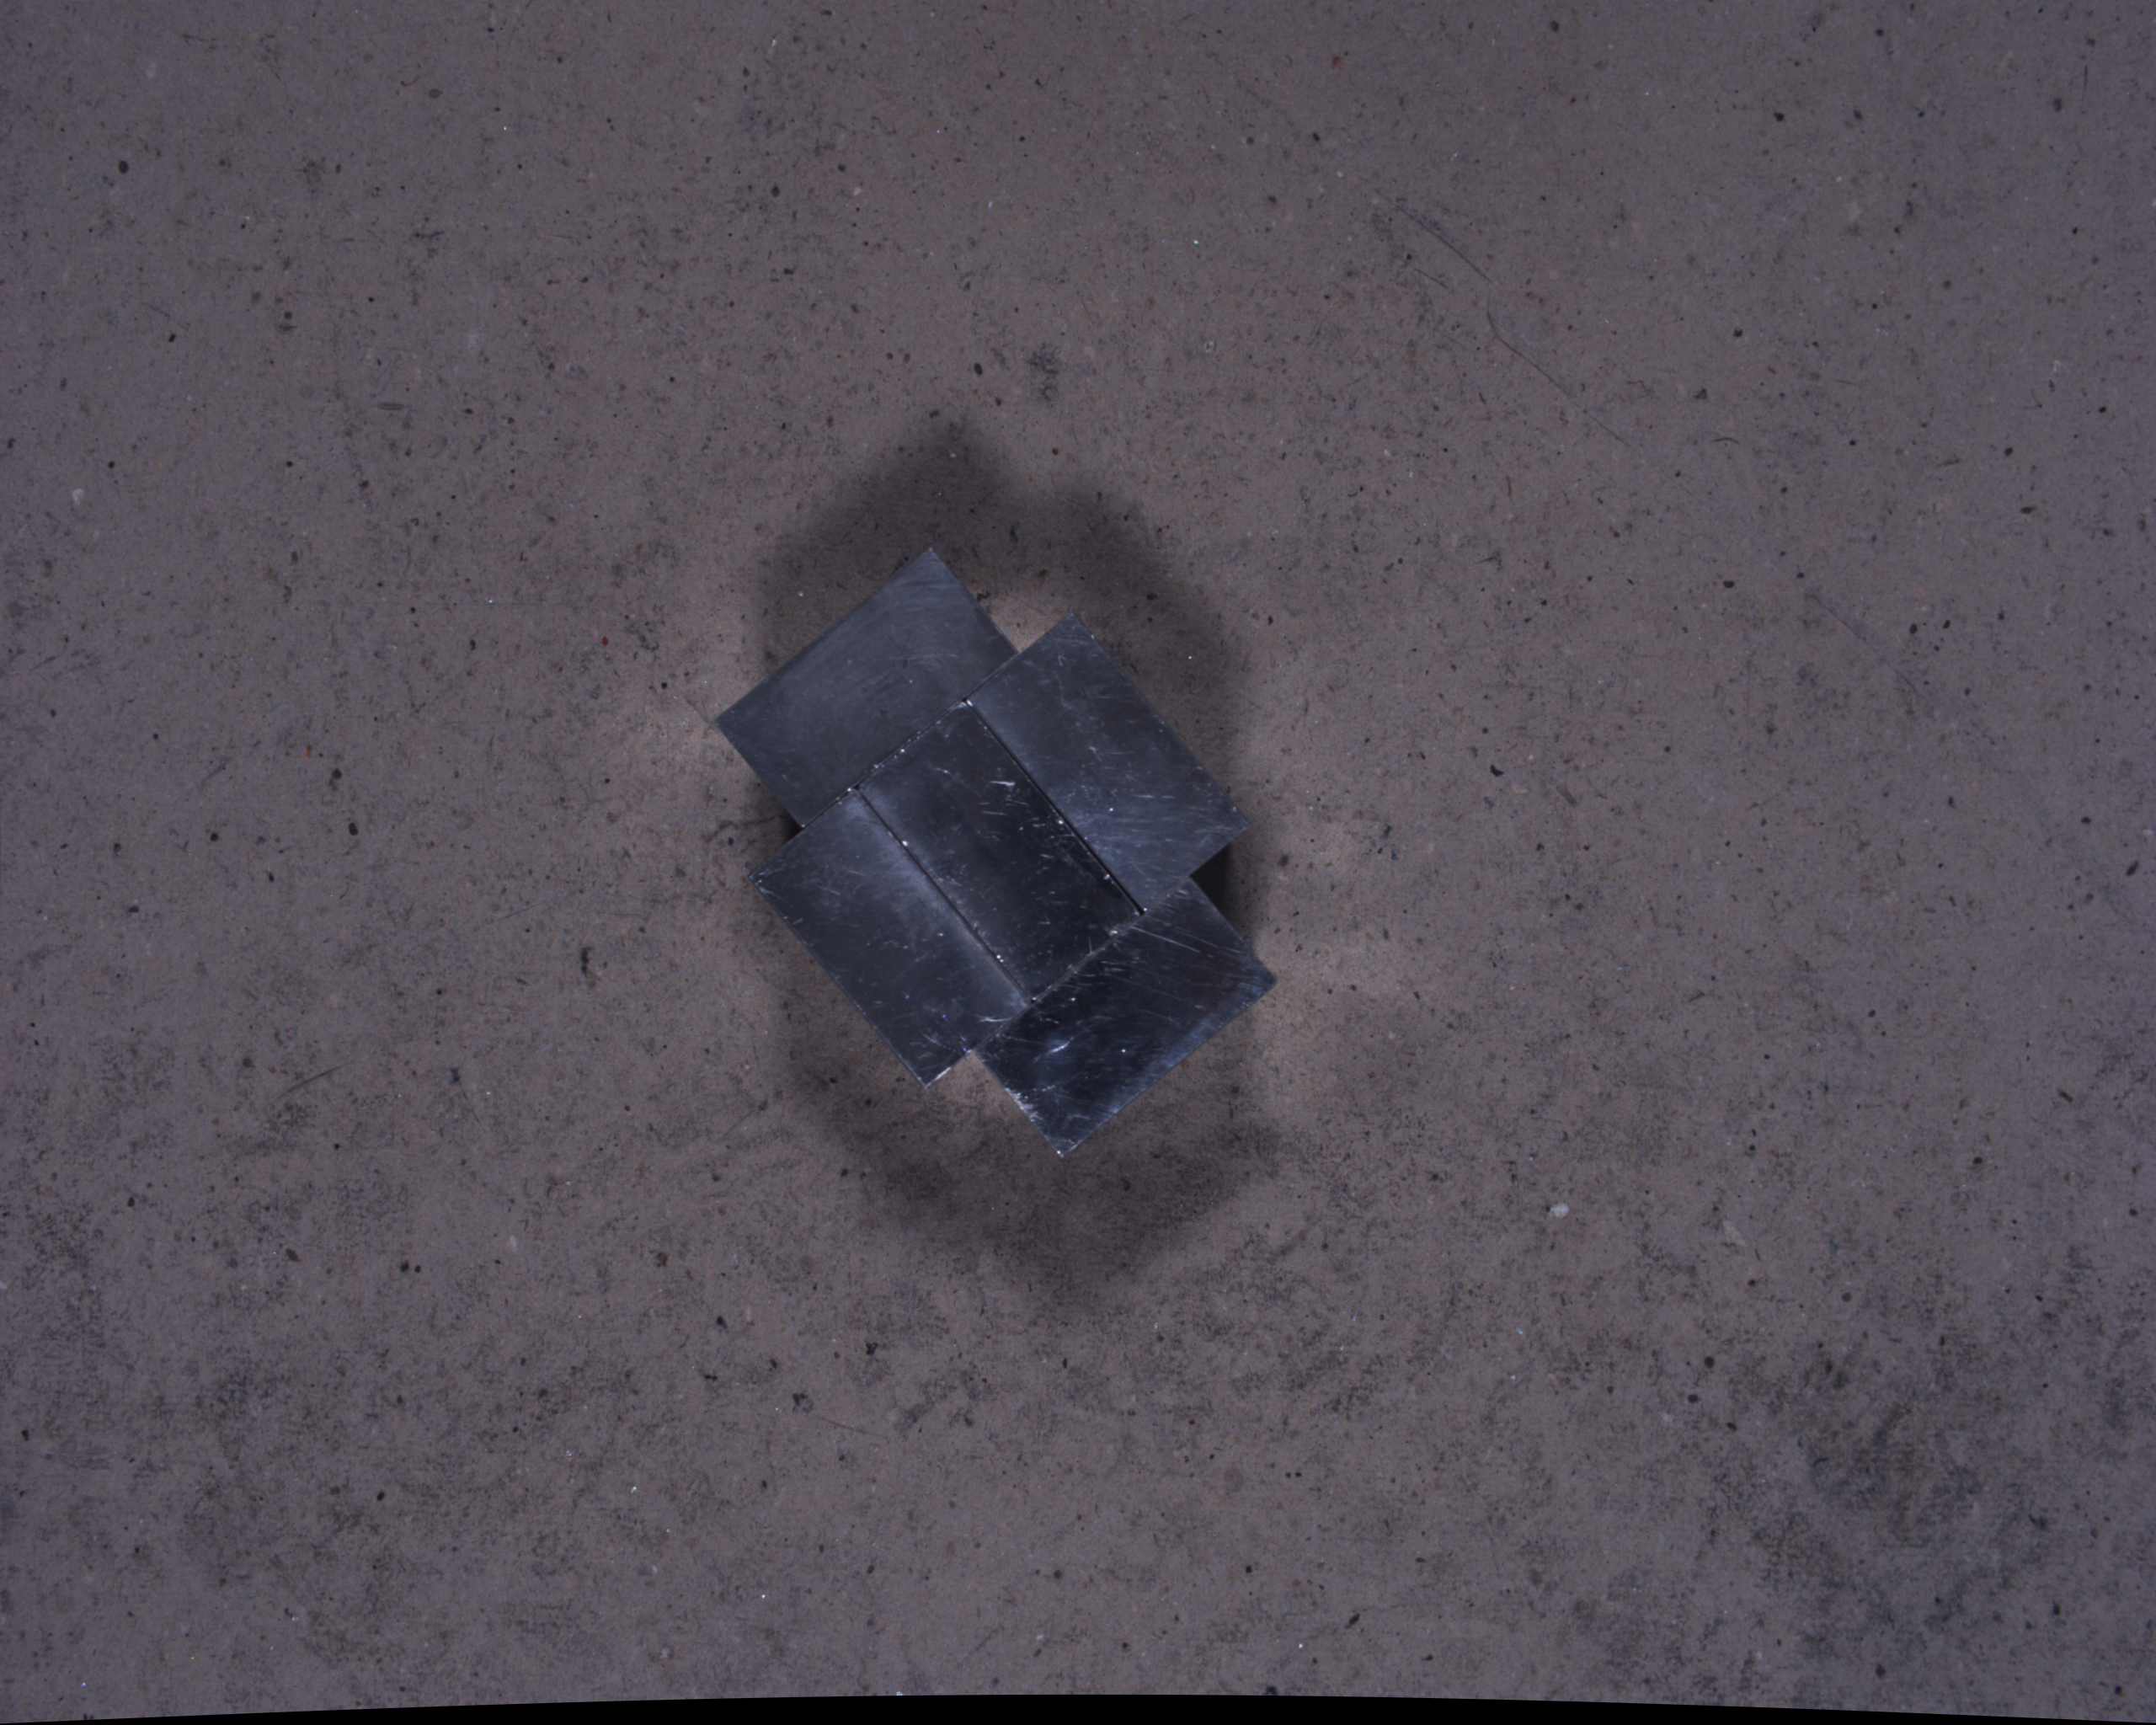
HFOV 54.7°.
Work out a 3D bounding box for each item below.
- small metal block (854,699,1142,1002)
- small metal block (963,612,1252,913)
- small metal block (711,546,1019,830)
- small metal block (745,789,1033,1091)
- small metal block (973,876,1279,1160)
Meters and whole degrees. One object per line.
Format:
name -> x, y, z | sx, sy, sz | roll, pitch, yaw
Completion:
small metal block -> -0.014, -0.002, 0.398 | 0.025, 0.050, 0.050 | -40, 91, 0
small metal block -> 0.005, -0.018, 0.398 | 0.025, 0.050, 0.050 | -41, 91, 0
small metal block -> -0.038, -0.031, 0.398 | 0.050, 0.050, 0.025 | -39, 90, 0
small metal block -> -0.034, 0.014, 0.398 | 0.025, 0.050, 0.050 | -40, 91, 0
small metal block -> 0.009, 0.028, 0.398 | 0.050, 0.050, 0.025 | -39, 90, 0
